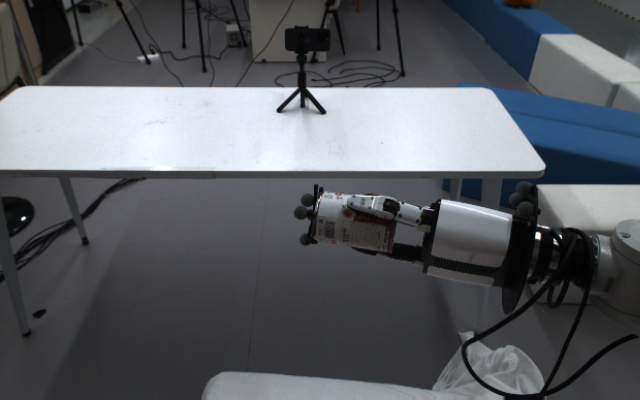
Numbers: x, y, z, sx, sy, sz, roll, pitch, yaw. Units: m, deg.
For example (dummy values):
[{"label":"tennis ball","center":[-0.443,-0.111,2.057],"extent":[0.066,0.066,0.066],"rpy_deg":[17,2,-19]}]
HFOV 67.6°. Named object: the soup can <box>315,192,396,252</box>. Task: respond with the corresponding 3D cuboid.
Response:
[{"label":"soup can","center":[0.050,0.028,0.625],"extent":[0.101,0.067,0.067],"rpy_deg":[8,35,9]}]
